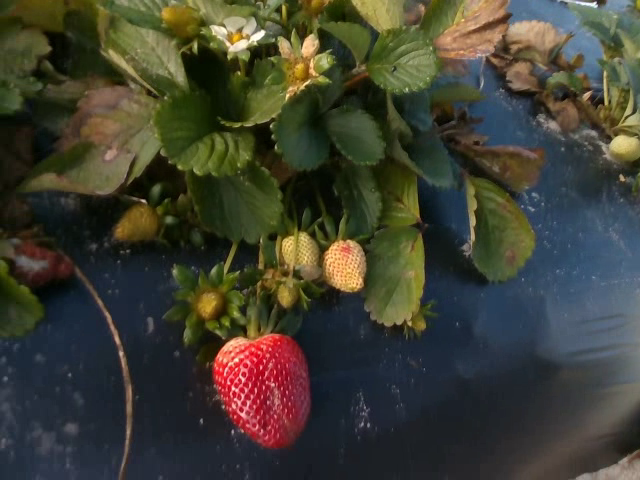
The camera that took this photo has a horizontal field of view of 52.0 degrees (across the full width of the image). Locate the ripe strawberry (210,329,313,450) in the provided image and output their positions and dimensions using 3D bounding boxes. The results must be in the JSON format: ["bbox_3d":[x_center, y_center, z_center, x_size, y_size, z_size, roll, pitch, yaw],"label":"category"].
[{"bbox_3d":[-0.028,0.080,0.337,0.052,0.045,0.068,-1,44,-28],"label":"ripe strawberry"}]
